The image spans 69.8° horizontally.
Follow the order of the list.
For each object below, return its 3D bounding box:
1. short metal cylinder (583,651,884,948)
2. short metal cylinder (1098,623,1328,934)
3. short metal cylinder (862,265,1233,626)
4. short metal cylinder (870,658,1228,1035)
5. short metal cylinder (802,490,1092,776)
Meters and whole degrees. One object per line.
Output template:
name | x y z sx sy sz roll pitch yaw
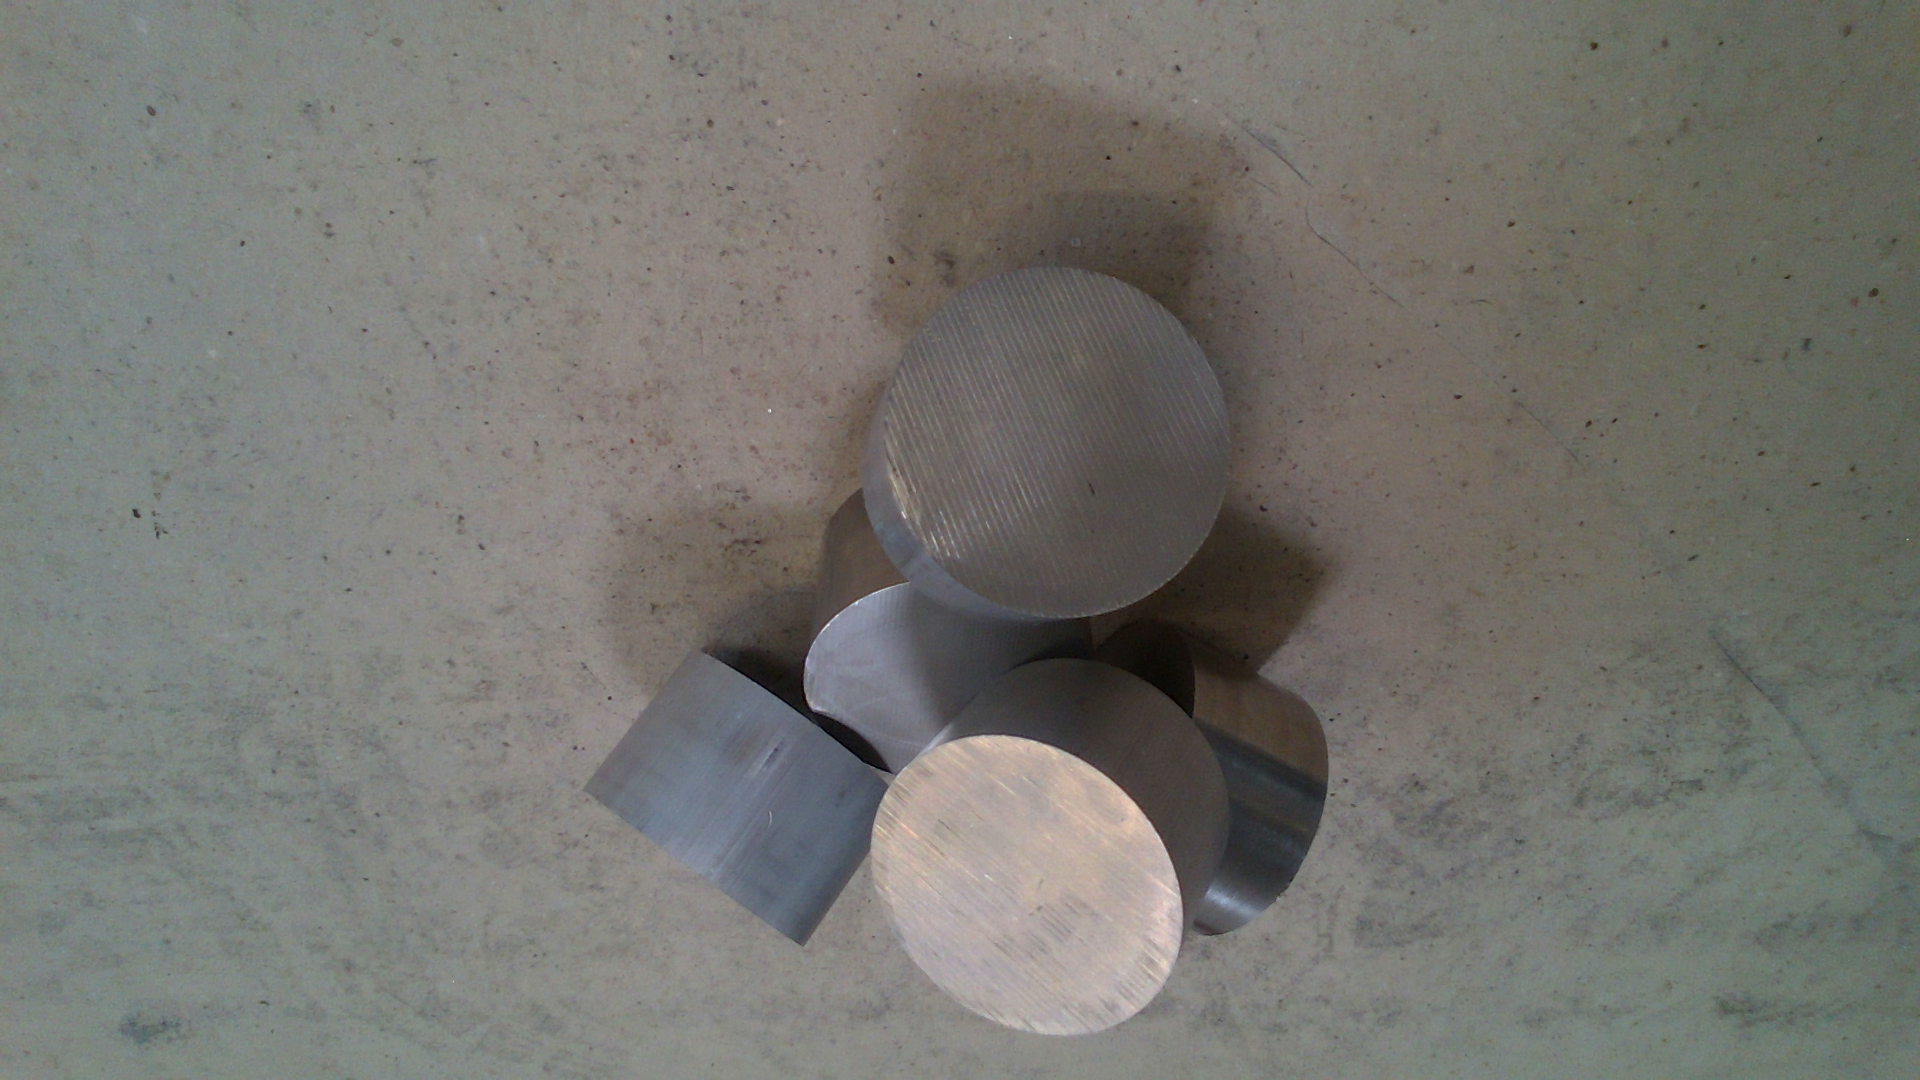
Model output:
short metal cylinder | -0.065 0.077 0.412 0.080 0.050 0.080 33 164 11
short metal cylinder | 0.064 0.072 0.416 0.050 0.080 0.080 28 125 -22
short metal cylinder | 0.018 -0.020 0.330 0.080 0.080 0.050 10 173 -9
short metal cylinder | 0.024 0.077 0.352 0.080 0.050 0.080 7 110 21
short metal cylinder | -0.003 0.024 0.394 0.080 0.050 0.080 0 130 0
